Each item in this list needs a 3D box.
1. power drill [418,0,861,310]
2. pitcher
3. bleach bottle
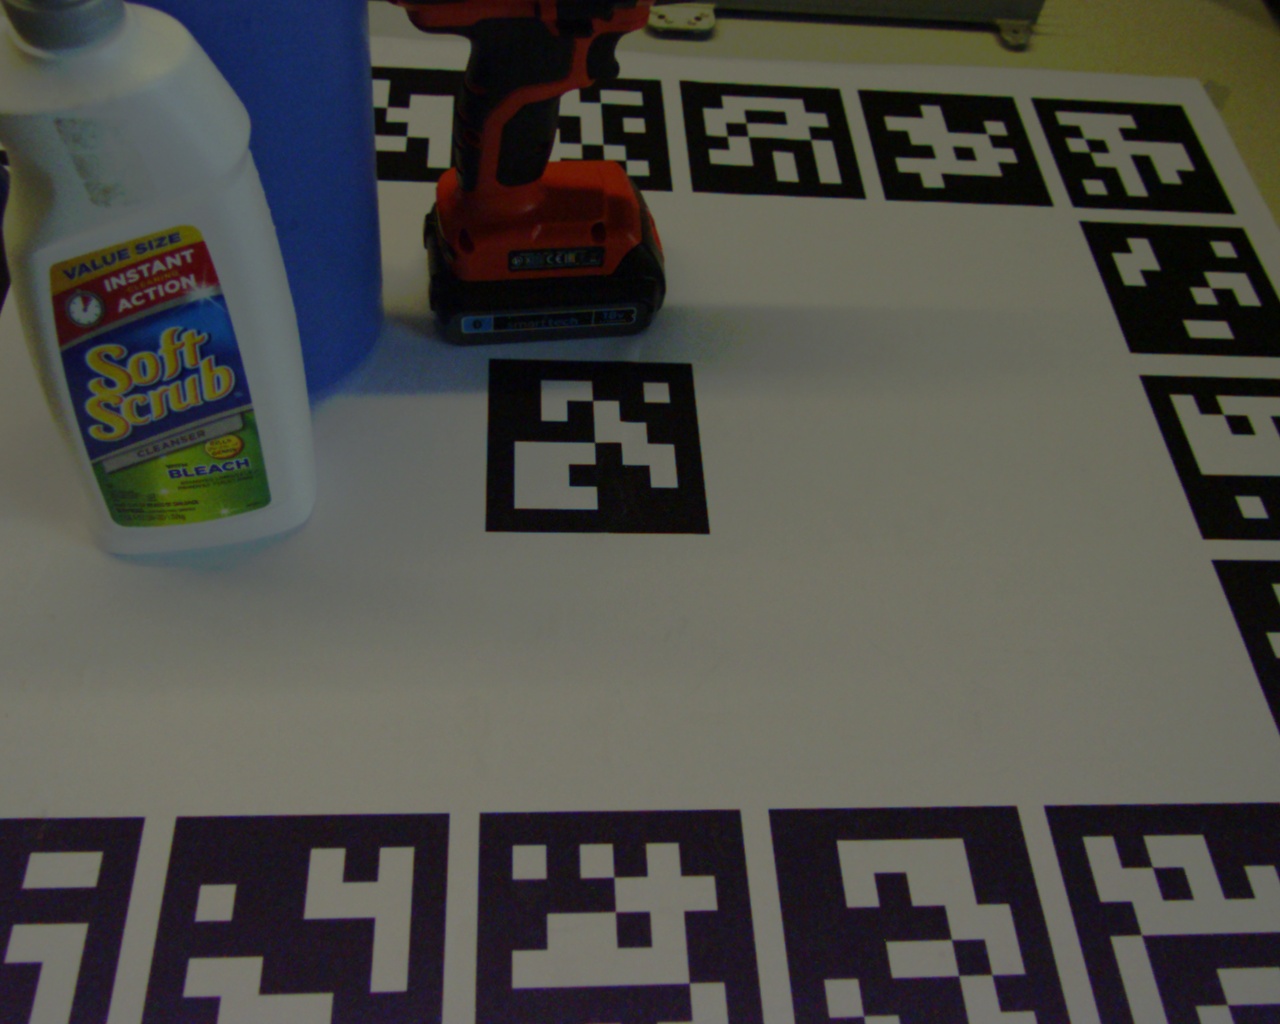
[{"bbox_3d":[-0.012,-0.172,0.522,0.183,0.187,0.057,-1,61,-14],"label":"power drill"},{"bbox_3d":[-0.176,-0.164,0.489,0.187,0.242,0.134,-23,65,-19],"label":"pitcher"},{"bbox_3d":[-0.181,-0.088,0.417,0.102,0.250,0.068,-6,59,-10],"label":"bleach bottle"}]
